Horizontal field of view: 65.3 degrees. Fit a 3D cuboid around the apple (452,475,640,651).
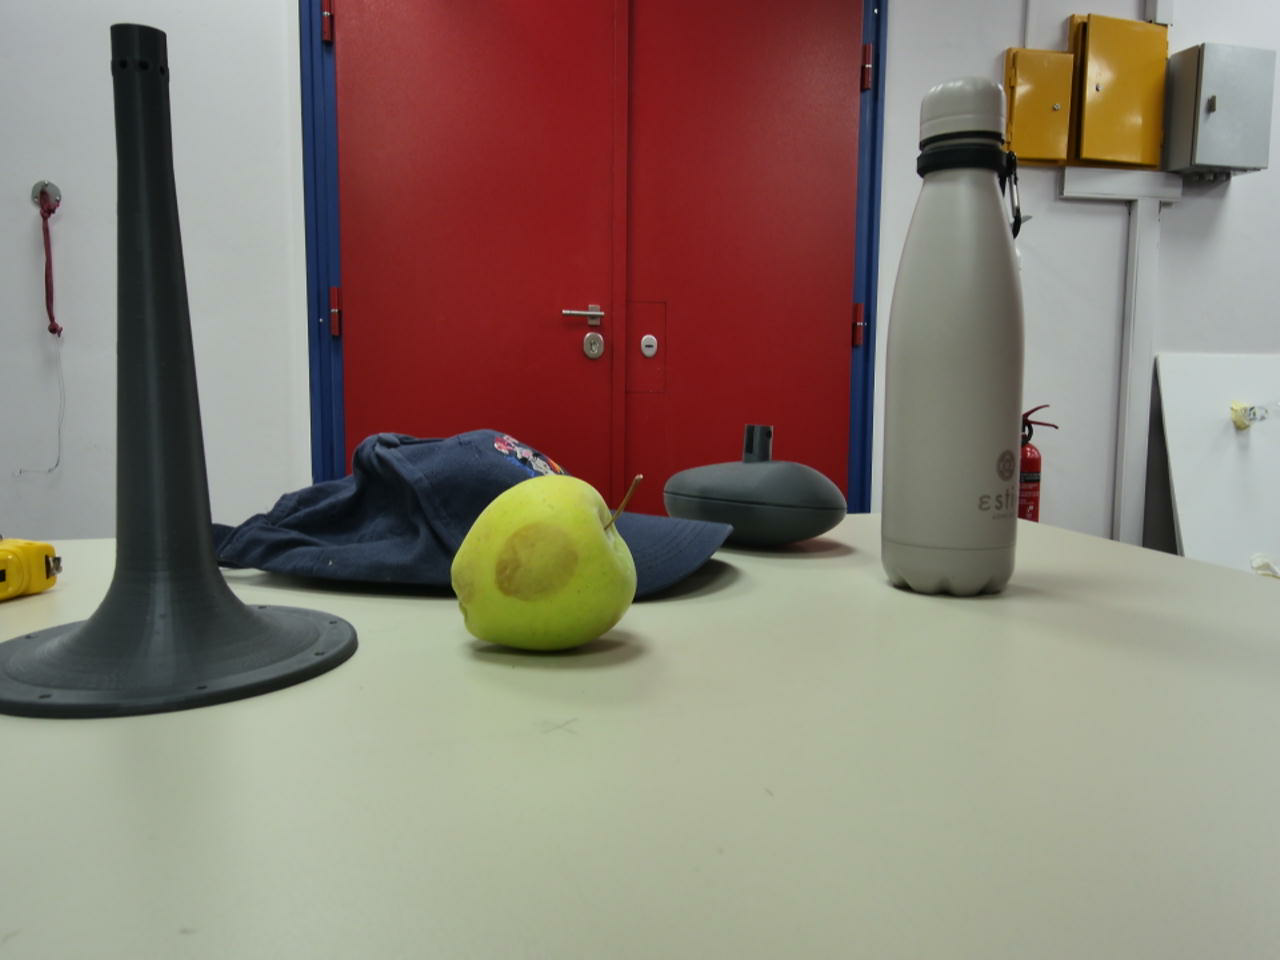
[{"bbox_3d":[-0.040,0.036,0.437,0.077,0.075,0.072,3,5,30],"label":"apple"}]
